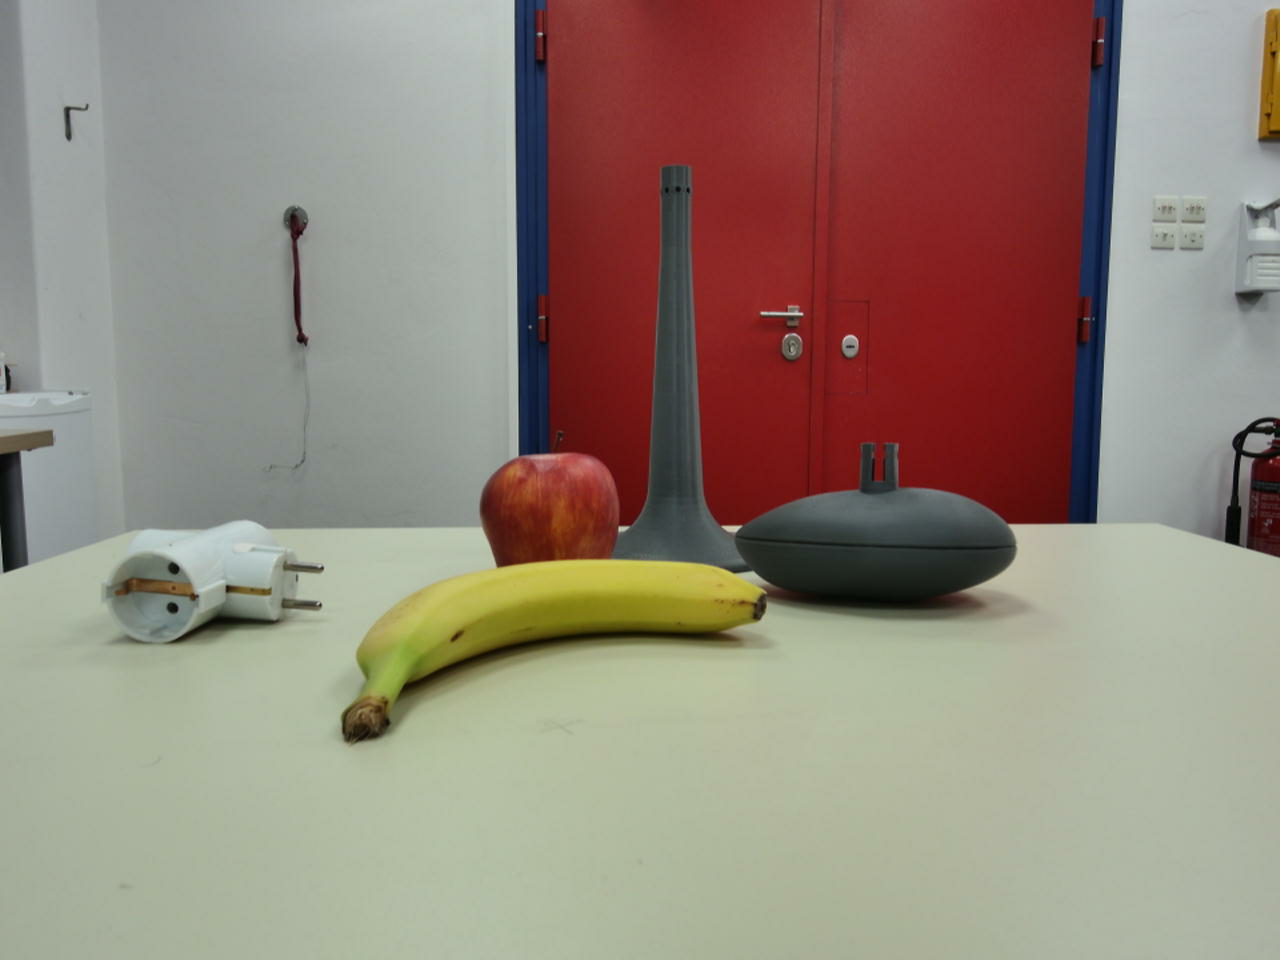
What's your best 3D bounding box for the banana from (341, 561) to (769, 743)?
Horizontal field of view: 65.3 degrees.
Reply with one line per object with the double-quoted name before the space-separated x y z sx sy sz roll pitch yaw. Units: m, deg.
"banana" -0.044 0.060 0.422 0.196 0.041 0.094 -3 5 -36
